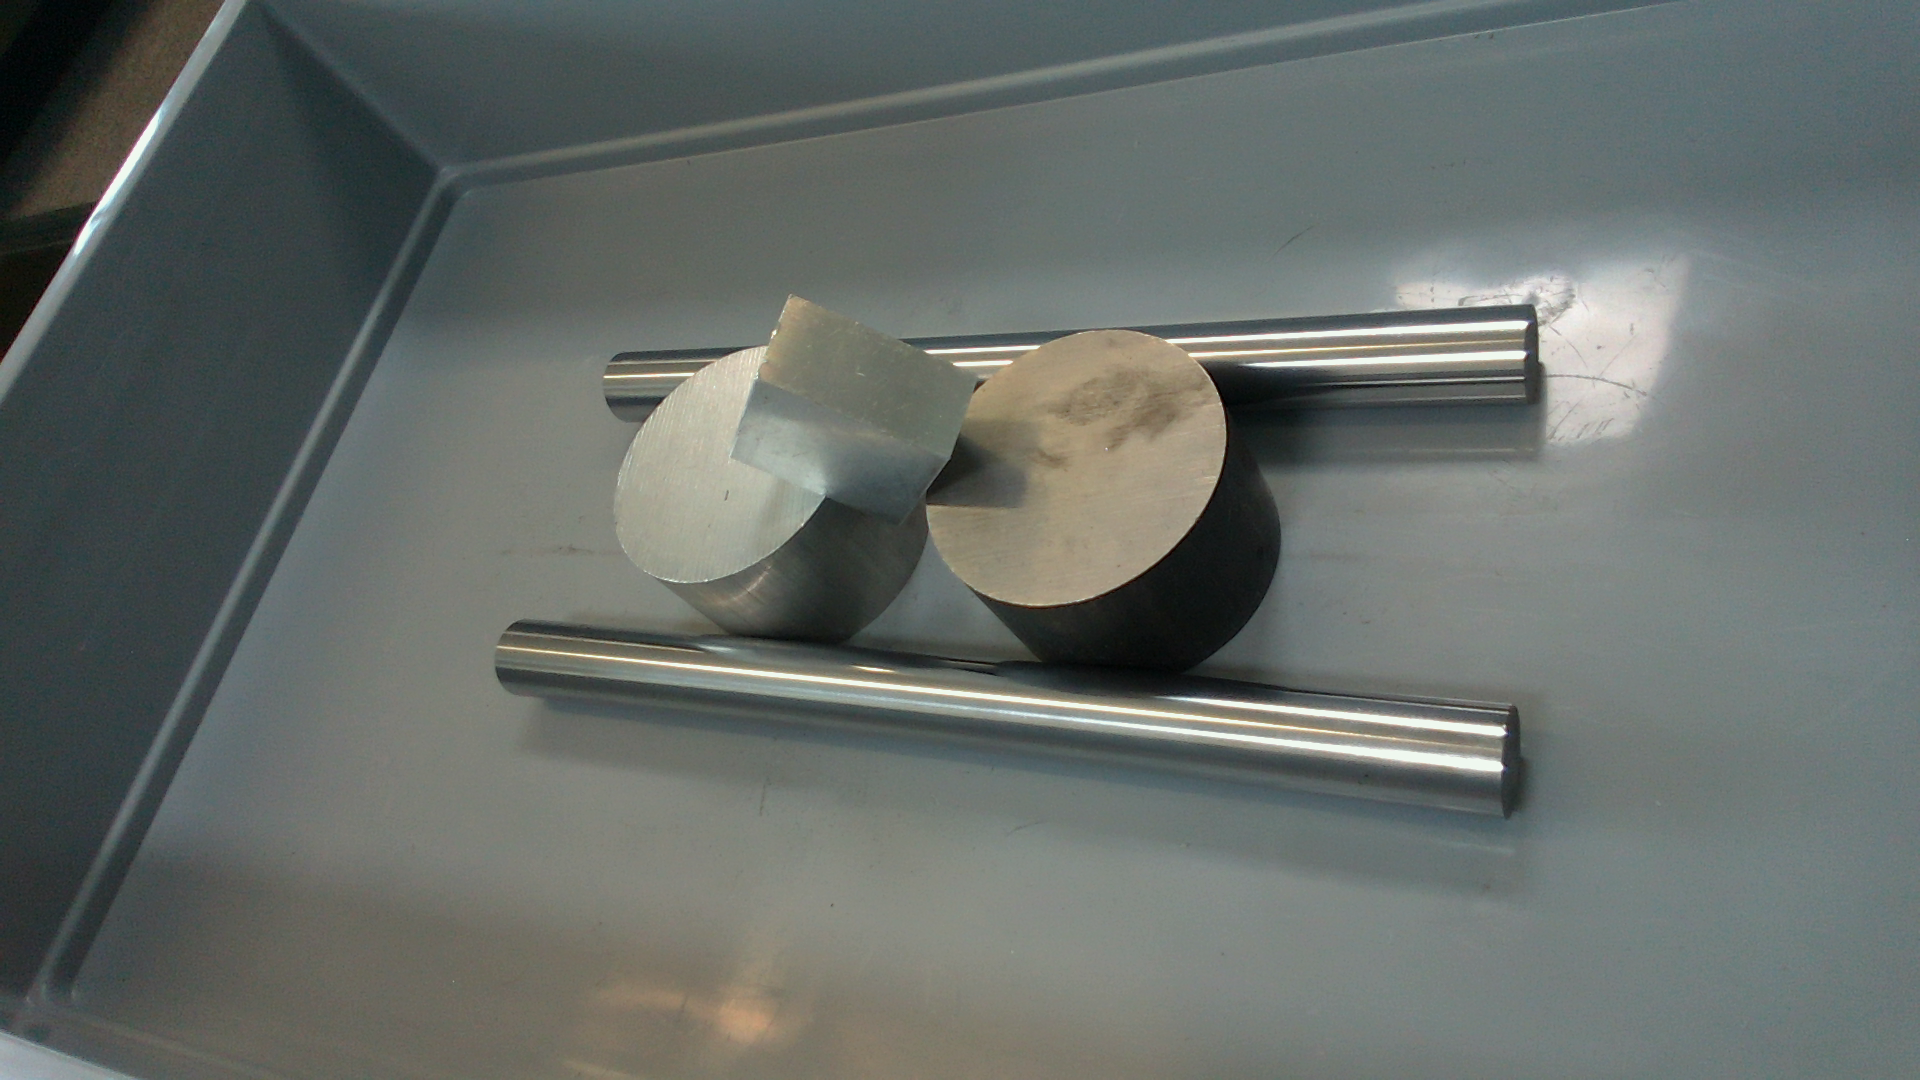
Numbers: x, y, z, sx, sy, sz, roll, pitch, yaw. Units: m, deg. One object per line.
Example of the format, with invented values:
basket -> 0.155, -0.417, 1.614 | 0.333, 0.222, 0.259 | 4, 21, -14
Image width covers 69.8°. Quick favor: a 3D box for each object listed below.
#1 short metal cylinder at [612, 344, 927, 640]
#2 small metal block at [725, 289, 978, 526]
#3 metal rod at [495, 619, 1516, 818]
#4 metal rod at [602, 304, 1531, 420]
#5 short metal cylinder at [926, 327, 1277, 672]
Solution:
short metal cylinder -> -0.056, -0.012, 0.414 | 0.080, 0.050, 0.080 | -13, 56, 21
small metal block -> -0.029, -0.032, 0.352 | 0.050, 0.050, 0.025 | 22, 66, -9
metal rod -> -0.011, 0.043, 0.372 | 0.299, 0.025, 0.025 | 2, 63, 29
metal rod -> 0.012, -0.051, 0.417 | 0.299, 0.025, 0.025 | 2, 62, 29
short metal cylinder -> 0.038, -0.008, 0.361 | 0.080, 0.050, 0.080 | -13, 56, 21
